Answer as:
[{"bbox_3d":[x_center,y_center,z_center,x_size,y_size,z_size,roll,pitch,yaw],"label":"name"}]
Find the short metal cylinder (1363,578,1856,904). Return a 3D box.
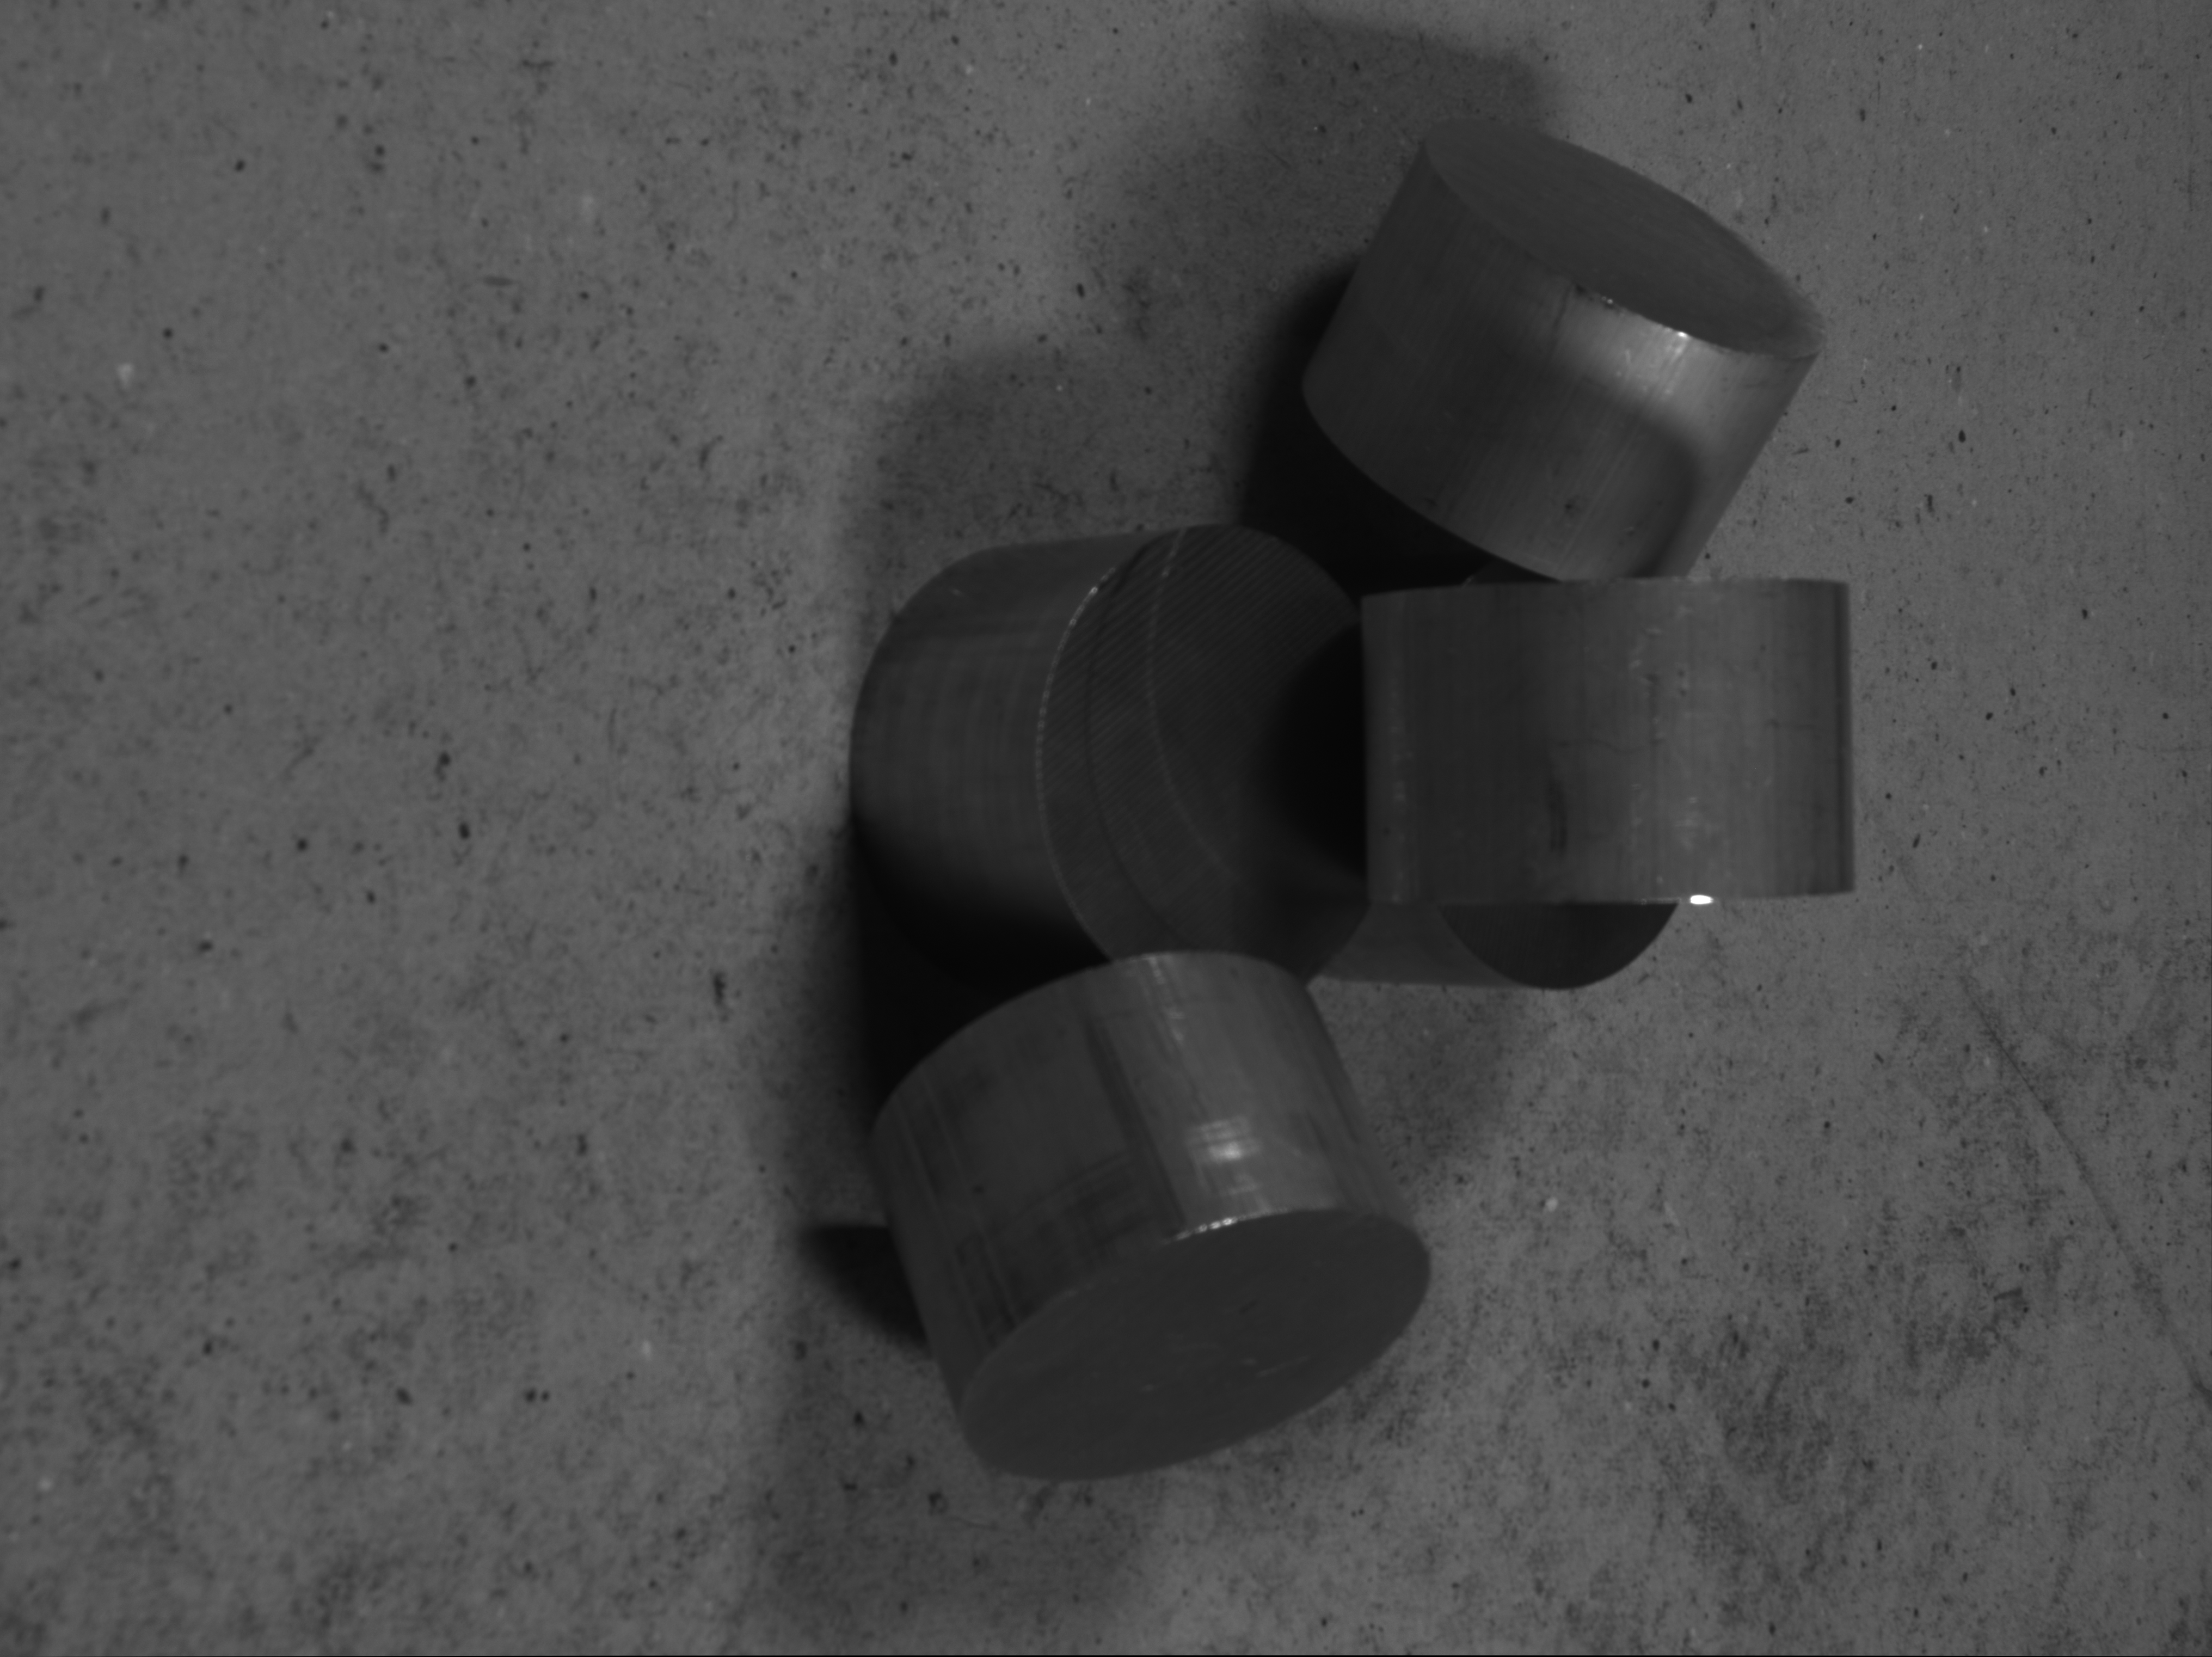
[{"bbox_3d":[0.083,-0.014,0.606,0.080,0.080,0.050,-2,91,-40],"label":"short metal cylinder"}]

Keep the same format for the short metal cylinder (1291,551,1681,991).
[{"bbox_3d":[0.066,-0.011,0.676,0.080,0.050,0.080,0,90,-40],"label":"short metal cylinder"}]

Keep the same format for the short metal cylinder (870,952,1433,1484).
[{"bbox_3d":[0.007,0.064,0.599,0.080,0.080,0.050,10,45,-39],"label":"short metal cylinder"}]

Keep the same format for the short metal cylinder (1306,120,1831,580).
[{"bbox_3d":[0.083,-0.085,0.662,0.080,0.080,0.050,1,128,-40],"label":"short metal cylinder"}]

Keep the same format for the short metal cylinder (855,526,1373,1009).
[{"bbox_3d":[0.004,-0.010,0.624,0.080,0.050,0.080,0,90,-40],"label":"short metal cylinder"}]
